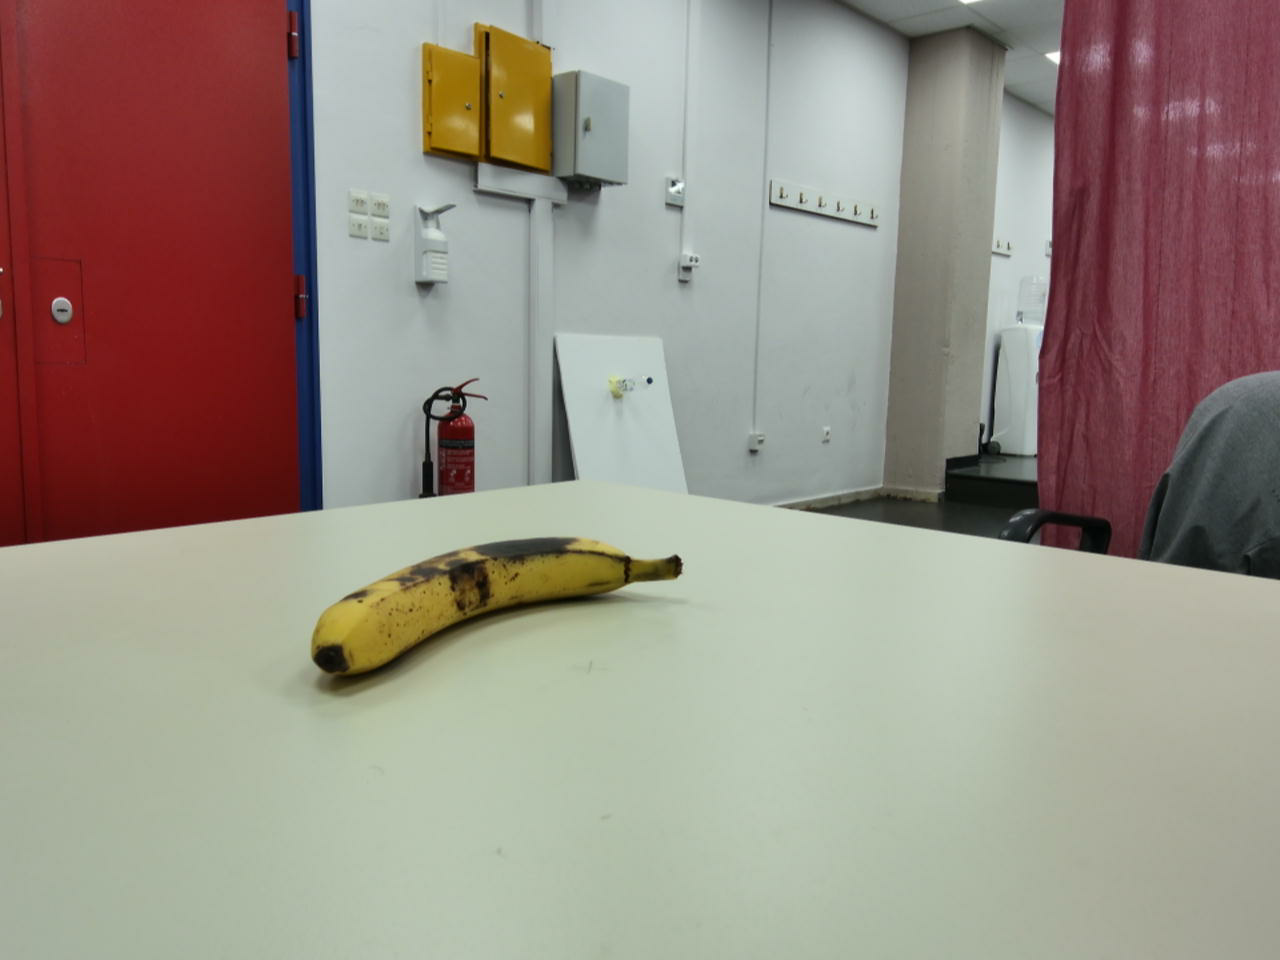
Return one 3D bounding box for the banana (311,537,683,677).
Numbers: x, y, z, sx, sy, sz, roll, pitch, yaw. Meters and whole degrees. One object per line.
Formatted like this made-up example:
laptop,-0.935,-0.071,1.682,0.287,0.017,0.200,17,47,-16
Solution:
banana,-0.079,0.056,0.505,0.084,0.037,0.222,5,8,41
